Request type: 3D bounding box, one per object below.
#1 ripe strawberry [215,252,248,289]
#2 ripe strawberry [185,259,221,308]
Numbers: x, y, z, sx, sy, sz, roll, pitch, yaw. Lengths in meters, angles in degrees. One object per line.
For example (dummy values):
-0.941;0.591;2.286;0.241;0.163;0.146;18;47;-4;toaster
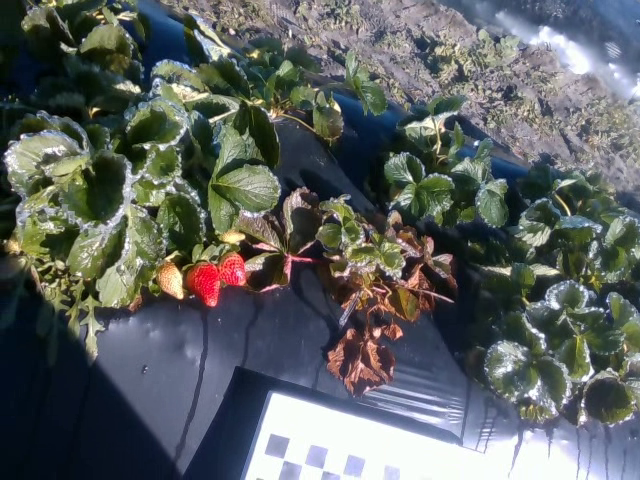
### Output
-0.091;0.033;0.658;0.036;0.041;0.030;-45;6;-15;ripe strawberry
-0.115;0.050;0.630;0.036;0.052;0.040;-20;-34;-19;ripe strawberry
